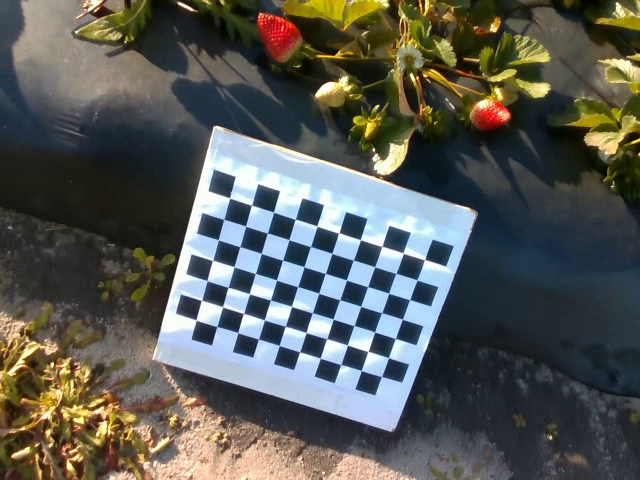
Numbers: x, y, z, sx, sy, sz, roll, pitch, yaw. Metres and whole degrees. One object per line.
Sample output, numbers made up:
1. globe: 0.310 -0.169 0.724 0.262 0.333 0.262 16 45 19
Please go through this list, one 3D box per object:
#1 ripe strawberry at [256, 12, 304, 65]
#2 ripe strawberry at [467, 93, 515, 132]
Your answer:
1. ripe strawberry: -0.037 -0.189 0.570 0.053 0.043 0.036 43 11 -16
2. ripe strawberry: 0.159 -0.116 0.575 0.042 0.037 0.045 -7 15 -27
